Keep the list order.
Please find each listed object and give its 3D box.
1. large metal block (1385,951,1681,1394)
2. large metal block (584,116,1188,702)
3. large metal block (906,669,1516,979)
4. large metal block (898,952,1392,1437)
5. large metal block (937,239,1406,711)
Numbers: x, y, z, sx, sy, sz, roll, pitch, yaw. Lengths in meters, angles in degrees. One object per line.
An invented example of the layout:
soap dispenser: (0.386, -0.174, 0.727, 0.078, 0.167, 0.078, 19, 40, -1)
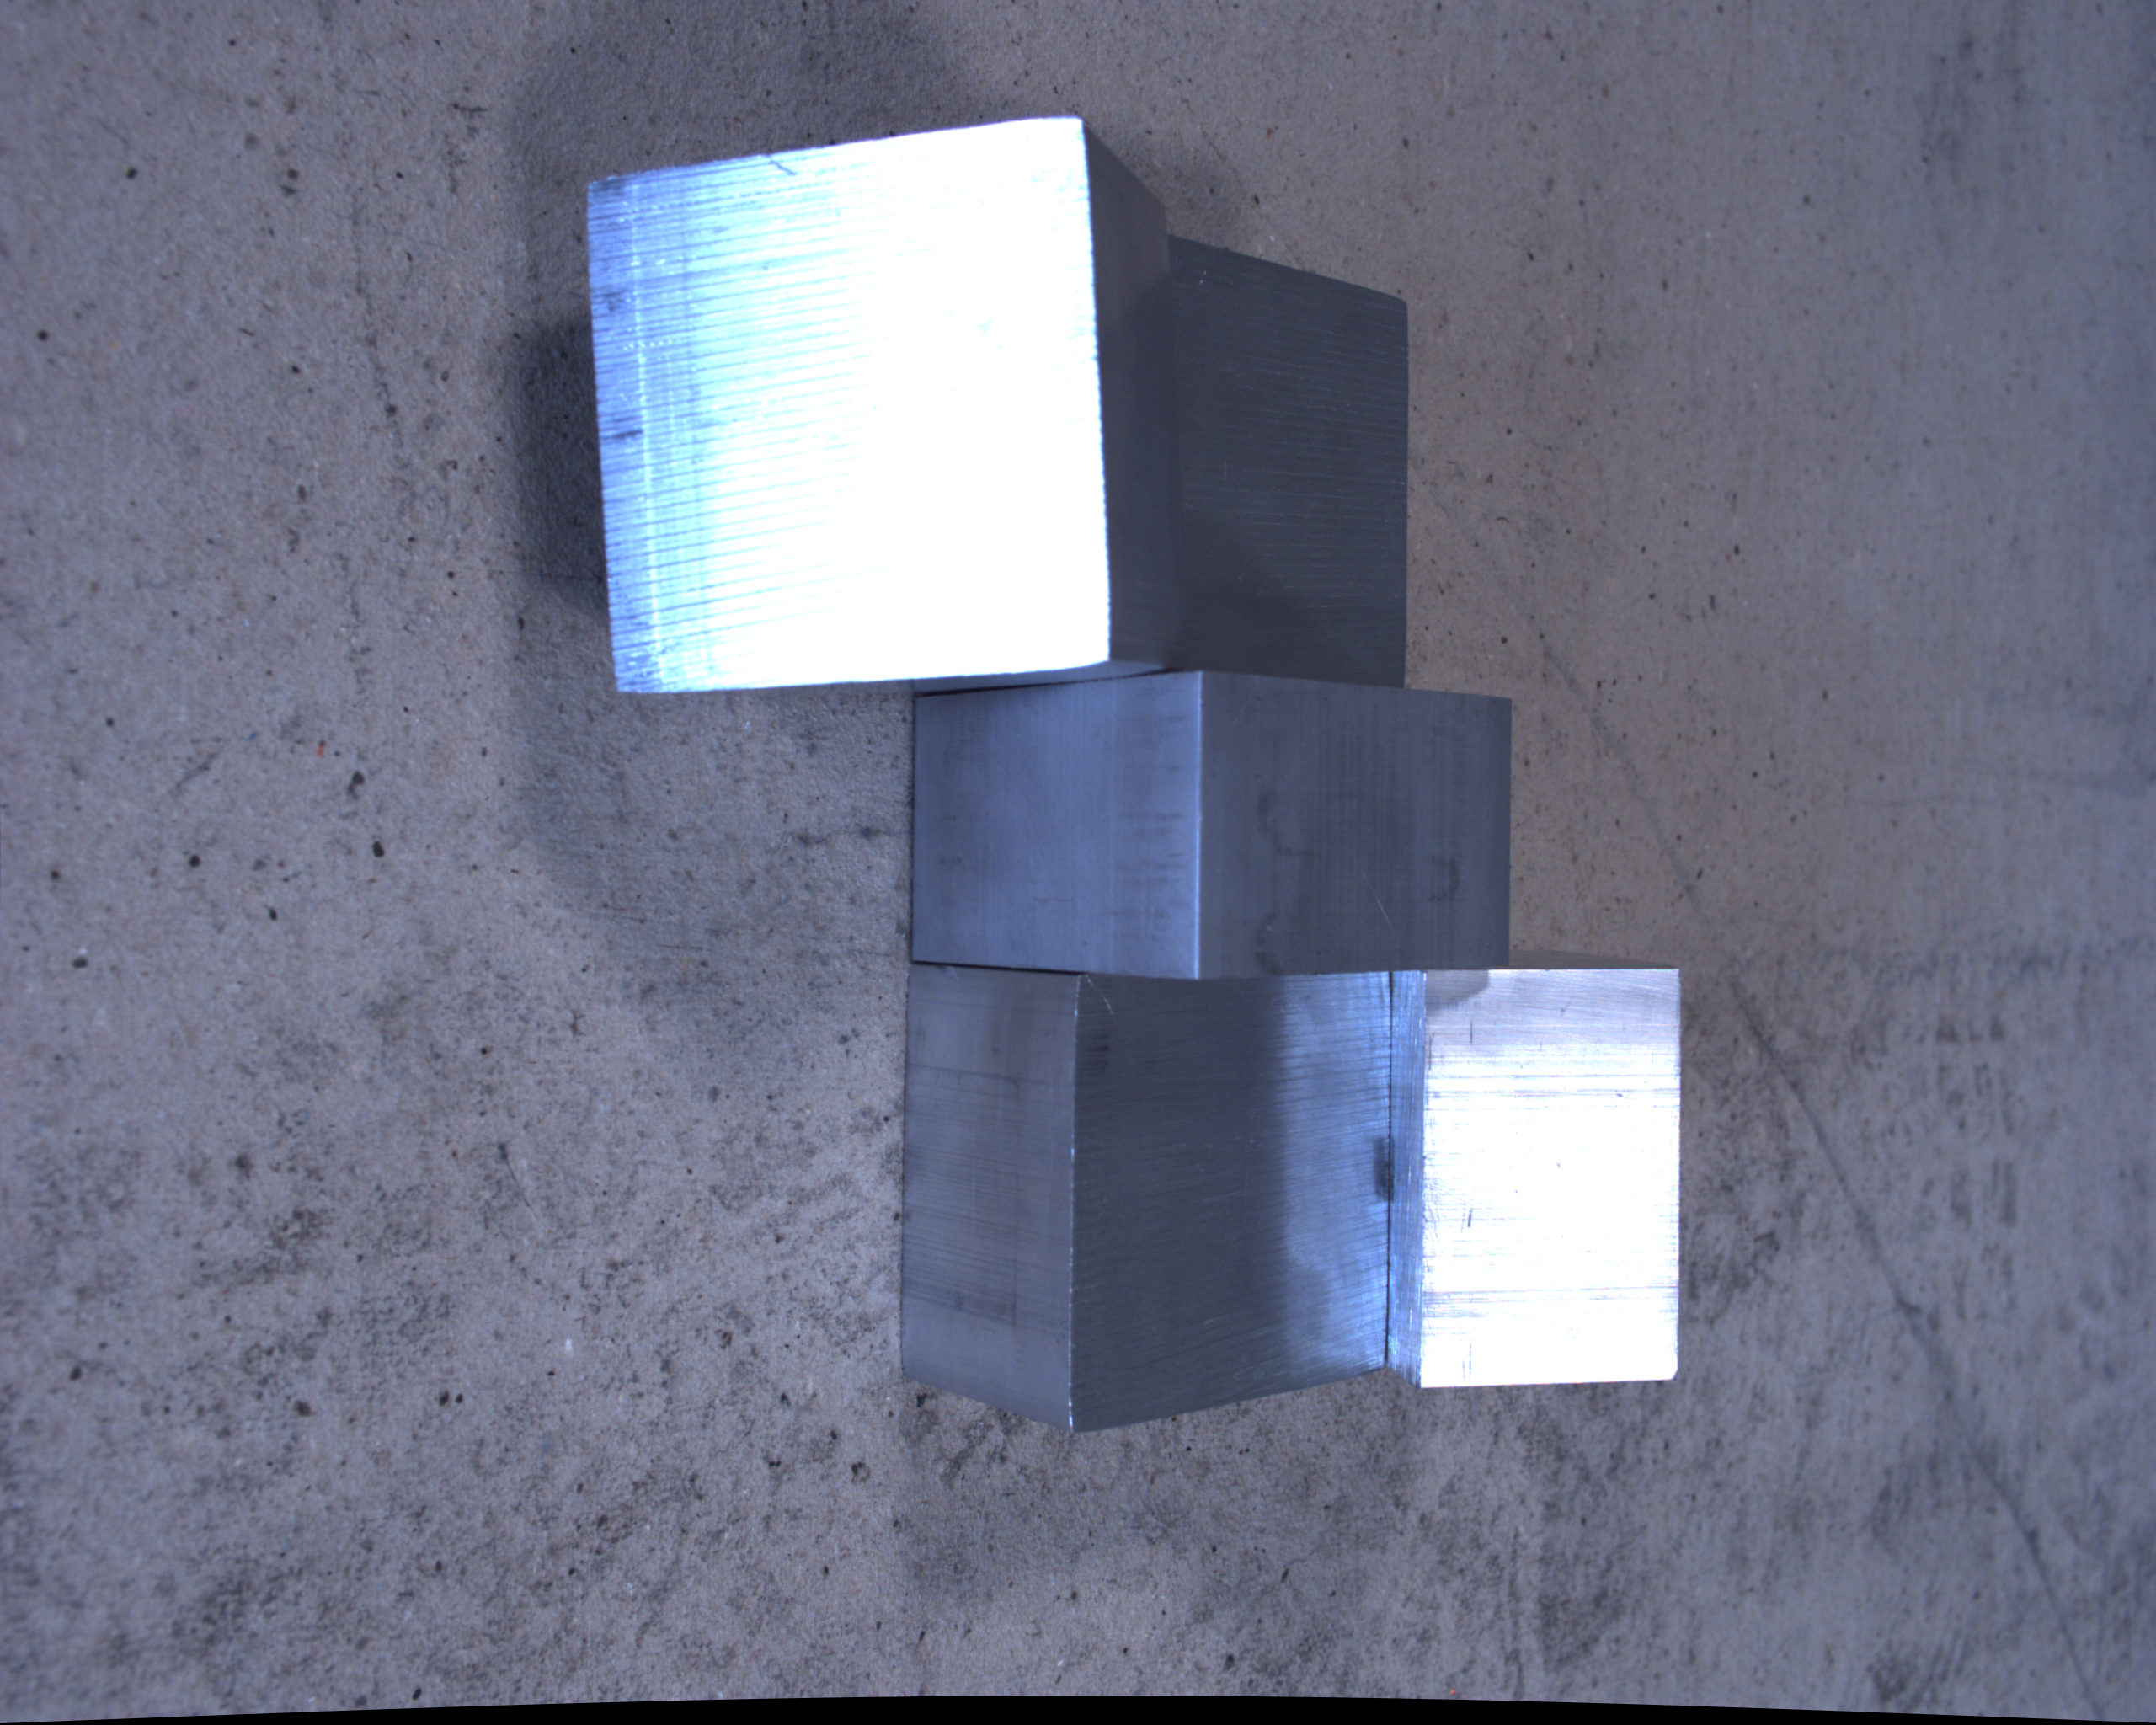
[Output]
large metal block: (0.084, 0.059, 0.431, 0.050, 0.080, 0.080, 0, 90, -8)
large metal block: (-0.029, -0.068, 0.337, 0.050, 0.080, 0.079, -11, 98, -74)
large metal block: (0.024, -0.006, 0.391, 0.081, 0.080, 0.050, 0, 90, -40)
large metal block: (0.014, 0.059, 0.402, 0.081, 0.050, 0.080, 1, 90, -40)
large metal block: (0.017, -0.071, 0.402, 0.081, 0.050, 0.080, 1, 89, -40)
